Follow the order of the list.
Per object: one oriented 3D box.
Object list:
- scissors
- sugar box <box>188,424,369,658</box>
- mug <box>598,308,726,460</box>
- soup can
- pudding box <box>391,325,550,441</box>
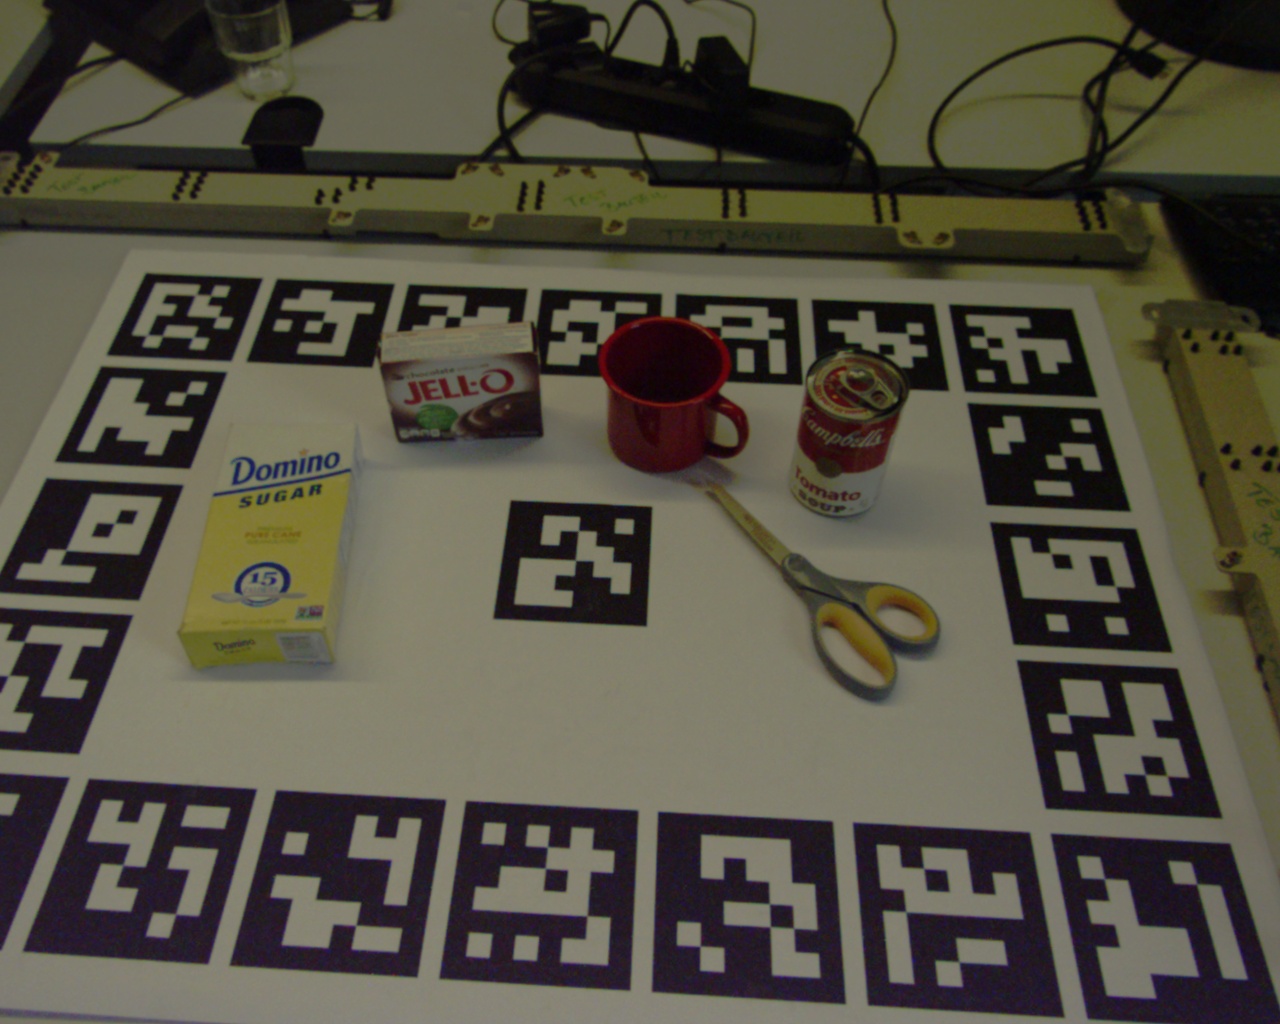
[{"bbox_3d":[0.109,0.046,0.798,0.087,0.016,0.205,-38,62,-13],"label":"scissors"},{"bbox_3d":[-0.252,0.017,0.812,0.093,0.045,0.177,-1,55,2],"label":"sugar box"},{"bbox_3d":[0.024,-0.086,0.858,0.093,0.081,0.118,-29,57,-17],"label":"mug"},{"bbox_3d":[0.137,-0.050,0.827,0.068,0.101,0.068,-1,52,0],"label":"soup can"},{"bbox_3d":[-0.125,-0.097,0.858,0.113,0.090,0.039,-5,60,-4],"label":"pudding box"}]
